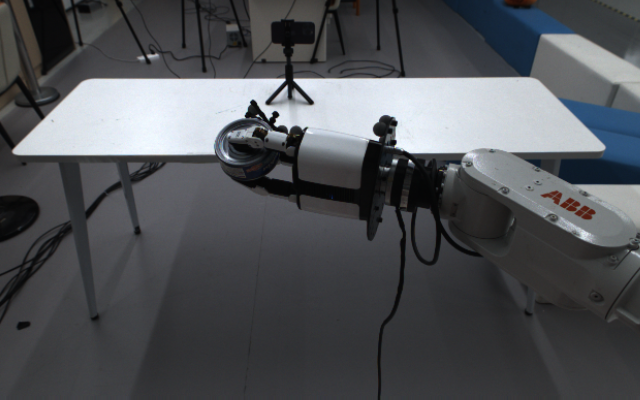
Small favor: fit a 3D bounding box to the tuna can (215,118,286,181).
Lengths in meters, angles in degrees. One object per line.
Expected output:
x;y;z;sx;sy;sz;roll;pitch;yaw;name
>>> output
-0.096;-0.064;0.659;0.085;0.034;0.085;-4;57;6;tuna can
